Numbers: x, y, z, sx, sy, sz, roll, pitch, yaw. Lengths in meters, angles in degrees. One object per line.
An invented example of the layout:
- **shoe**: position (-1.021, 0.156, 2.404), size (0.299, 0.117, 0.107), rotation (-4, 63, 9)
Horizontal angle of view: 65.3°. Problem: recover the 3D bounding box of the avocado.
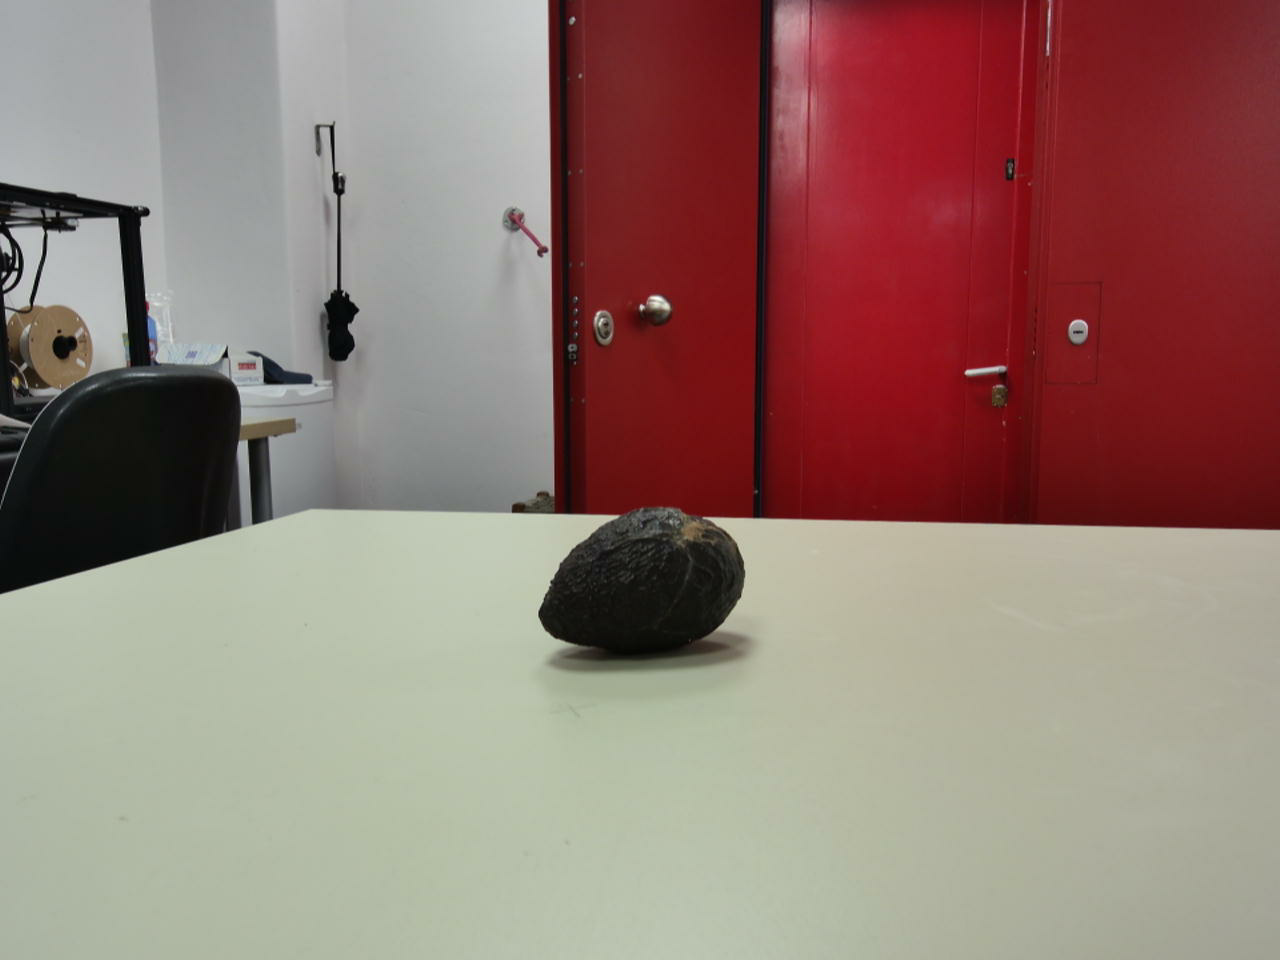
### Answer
- **avocado**: position (0.001, 0.043, 0.437), size (0.092, 0.062, 0.062), rotation (-1, 4, -11)
